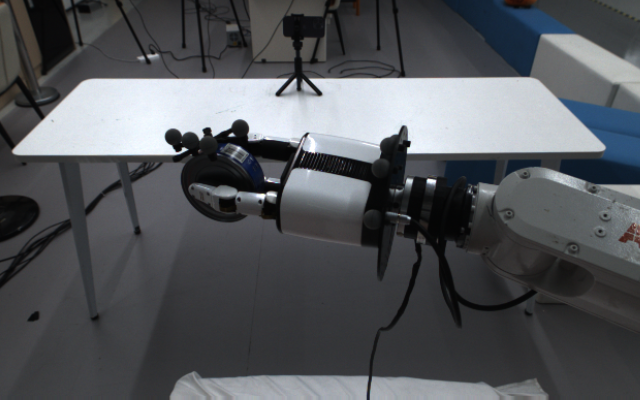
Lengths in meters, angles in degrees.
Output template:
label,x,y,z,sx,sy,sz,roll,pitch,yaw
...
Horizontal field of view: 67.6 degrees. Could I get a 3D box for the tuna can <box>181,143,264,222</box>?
label,x,y,z,sx,sy,sz,roll,pitch,yaw
tuna can,-0.101,-0.015,0.526,0.085,0.085,0.034,9,34,11
